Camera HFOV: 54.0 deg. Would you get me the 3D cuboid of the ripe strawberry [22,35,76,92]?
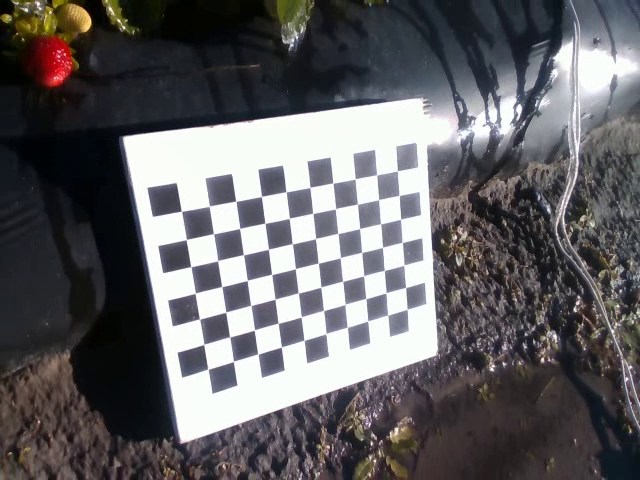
[{"bbox_3d":[-0.155,-0.100,0.365,0.039,0.040,0.039,-19,43,-12],"label":"ripe strawberry"}]
